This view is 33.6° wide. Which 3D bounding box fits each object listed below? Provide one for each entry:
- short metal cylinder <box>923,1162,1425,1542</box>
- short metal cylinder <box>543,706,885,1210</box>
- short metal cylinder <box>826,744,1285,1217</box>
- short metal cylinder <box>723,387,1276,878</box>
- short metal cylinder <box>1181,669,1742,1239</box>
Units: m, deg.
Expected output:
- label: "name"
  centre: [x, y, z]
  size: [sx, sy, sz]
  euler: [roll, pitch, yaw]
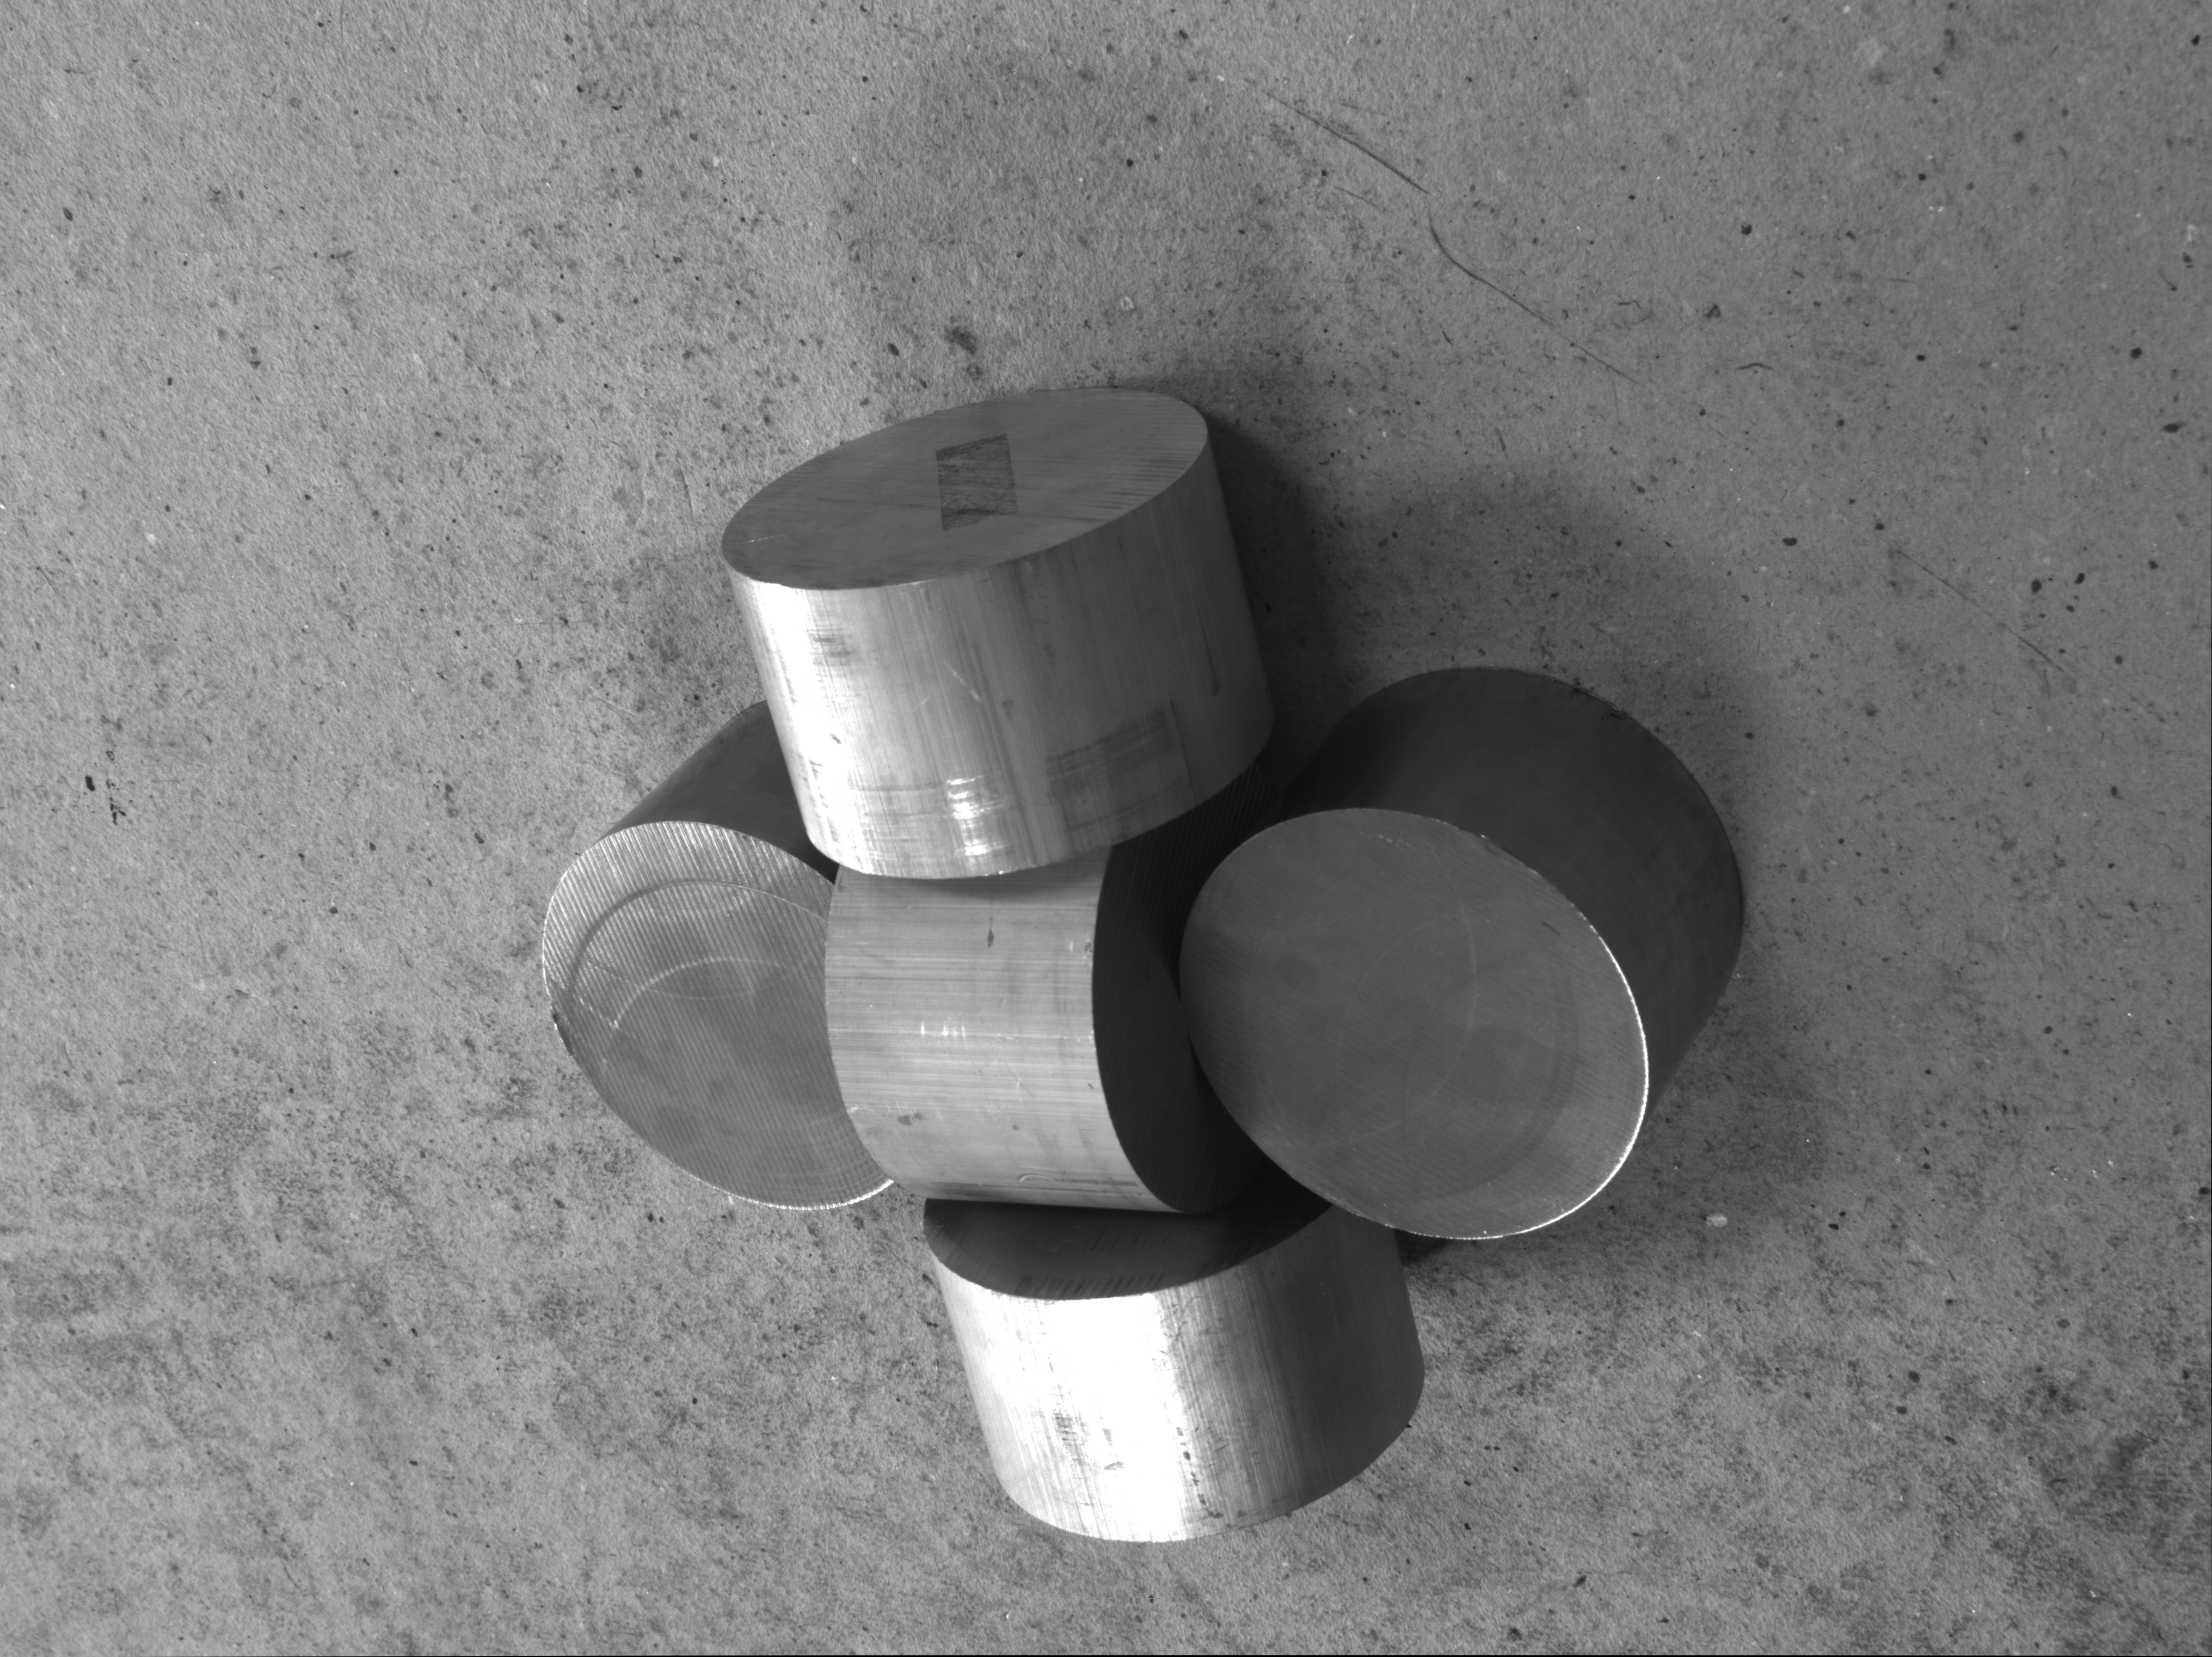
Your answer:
- label: "short metal cylinder"
  centre: [0.013, 0.082, 0.651]
  size: [0.080, 0.080, 0.050]
  euler: [0, 118, 28]
- label: "short metal cylinder"
  centre: [-0.055, 0.022, 0.670]
  size: [0.080, 0.050, 0.080]
  euler: [13, 123, 21]
- label: "short metal cylinder"
  centre: [-0.005, 0.025, 0.625]
  size: [0.050, 0.080, 0.080]
  euler: [0, 118, 28]
- label: "short metal cylinder"
  centre: [-0.017, -0.033, 0.596]
  size: [0.080, 0.080, 0.050]
  euler: [0, 118, 28]
- label: "short metal cylinder"
  centre: [0.059, 0.021, 0.607]
  size: [0.080, 0.050, 0.080]
  euler: [14, 124, 21]
